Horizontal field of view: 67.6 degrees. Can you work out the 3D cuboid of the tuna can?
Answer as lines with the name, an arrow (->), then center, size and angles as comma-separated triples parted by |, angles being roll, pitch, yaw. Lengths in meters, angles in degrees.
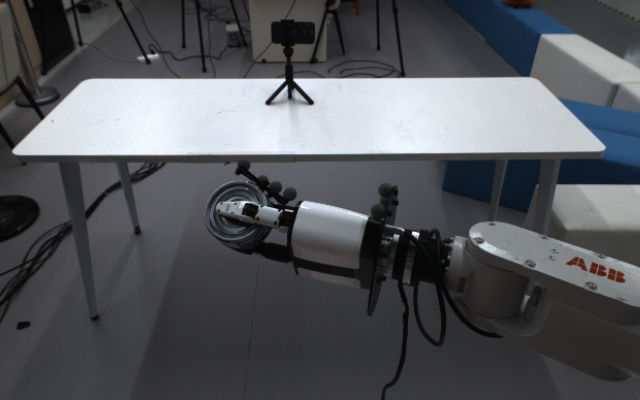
tuna can -> -0.100, 0.025, 0.620 | 0.085, 0.034, 0.085 | -4, 69, 10
